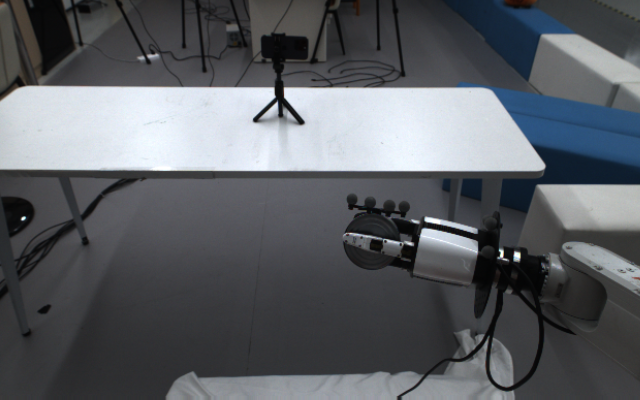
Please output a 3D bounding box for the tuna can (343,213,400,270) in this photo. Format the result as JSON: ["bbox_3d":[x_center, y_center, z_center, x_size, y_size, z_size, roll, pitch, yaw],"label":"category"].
[{"bbox_3d":[0.081,0.059,0.736,0.085,0.085,0.034,11,1,13],"label":"tuna can"}]
